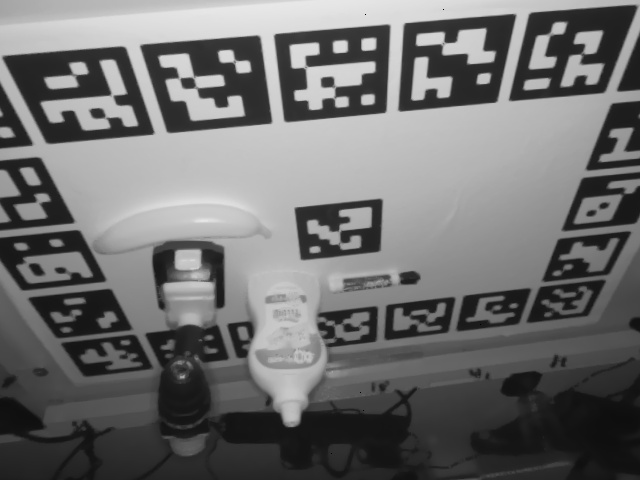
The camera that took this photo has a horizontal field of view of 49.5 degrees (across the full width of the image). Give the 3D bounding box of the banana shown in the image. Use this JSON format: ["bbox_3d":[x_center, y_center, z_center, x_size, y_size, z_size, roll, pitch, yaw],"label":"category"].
[{"bbox_3d":[-0.139,-0.028,0.786,0.199,0.039,0.073,-1,136,-10],"label":"banana"}]

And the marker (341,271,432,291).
[{"bbox_3d":[0.089,0.054,0.922,0.121,0.020,0.019,-4,137,-5],"label":"marker"}]

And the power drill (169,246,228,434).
[{"bbox_3d":[-0.137,0.102,0.785,0.058,0.188,0.182,5,139,-10],"label":"power drill"}]

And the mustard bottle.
[{"bbox_3d":[-0.030,0.123,0.850,0.097,0.193,0.057,3,137,-10],"label":"mustard bottle"}]
